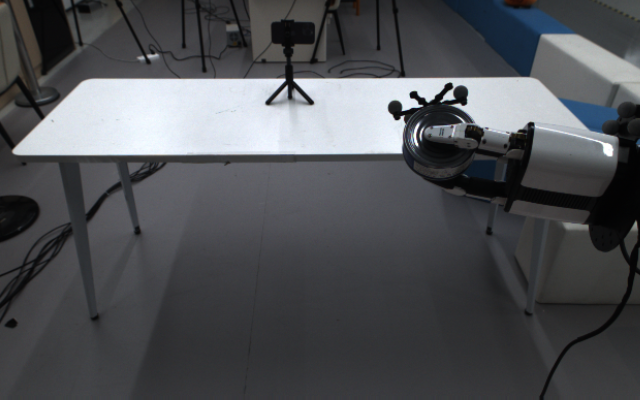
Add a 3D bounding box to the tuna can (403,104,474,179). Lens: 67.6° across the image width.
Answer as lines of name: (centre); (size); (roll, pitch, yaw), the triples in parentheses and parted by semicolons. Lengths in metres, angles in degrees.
tuna can: (0.142, -0.071, 0.565); (0.085, 0.034, 0.085); (-4, 68, 9)
